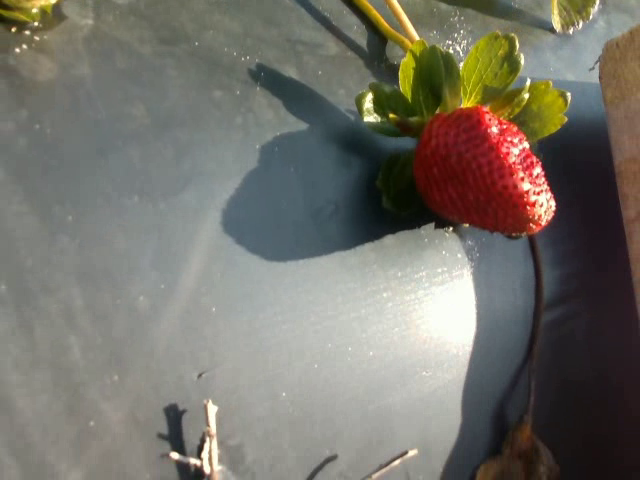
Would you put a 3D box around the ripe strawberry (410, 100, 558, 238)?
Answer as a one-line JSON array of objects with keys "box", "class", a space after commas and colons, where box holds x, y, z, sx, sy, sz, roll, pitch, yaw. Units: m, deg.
[{"box": [0.017, -0.008, 0.064, 0.015, 0.015, 0.023, 10, 23, -24], "class": "ripe strawberry"}]
